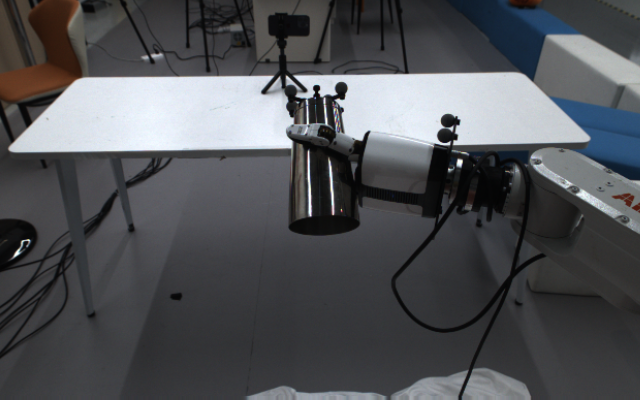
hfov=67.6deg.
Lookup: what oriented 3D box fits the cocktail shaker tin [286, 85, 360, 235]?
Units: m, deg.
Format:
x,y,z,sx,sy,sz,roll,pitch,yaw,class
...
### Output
x,y,z,sx,sy,sz,roll,pitch,yaw,class
0.000,-0.046,0.642,0.093,0.093,0.170,-2,70,-5,cocktail shaker tin
